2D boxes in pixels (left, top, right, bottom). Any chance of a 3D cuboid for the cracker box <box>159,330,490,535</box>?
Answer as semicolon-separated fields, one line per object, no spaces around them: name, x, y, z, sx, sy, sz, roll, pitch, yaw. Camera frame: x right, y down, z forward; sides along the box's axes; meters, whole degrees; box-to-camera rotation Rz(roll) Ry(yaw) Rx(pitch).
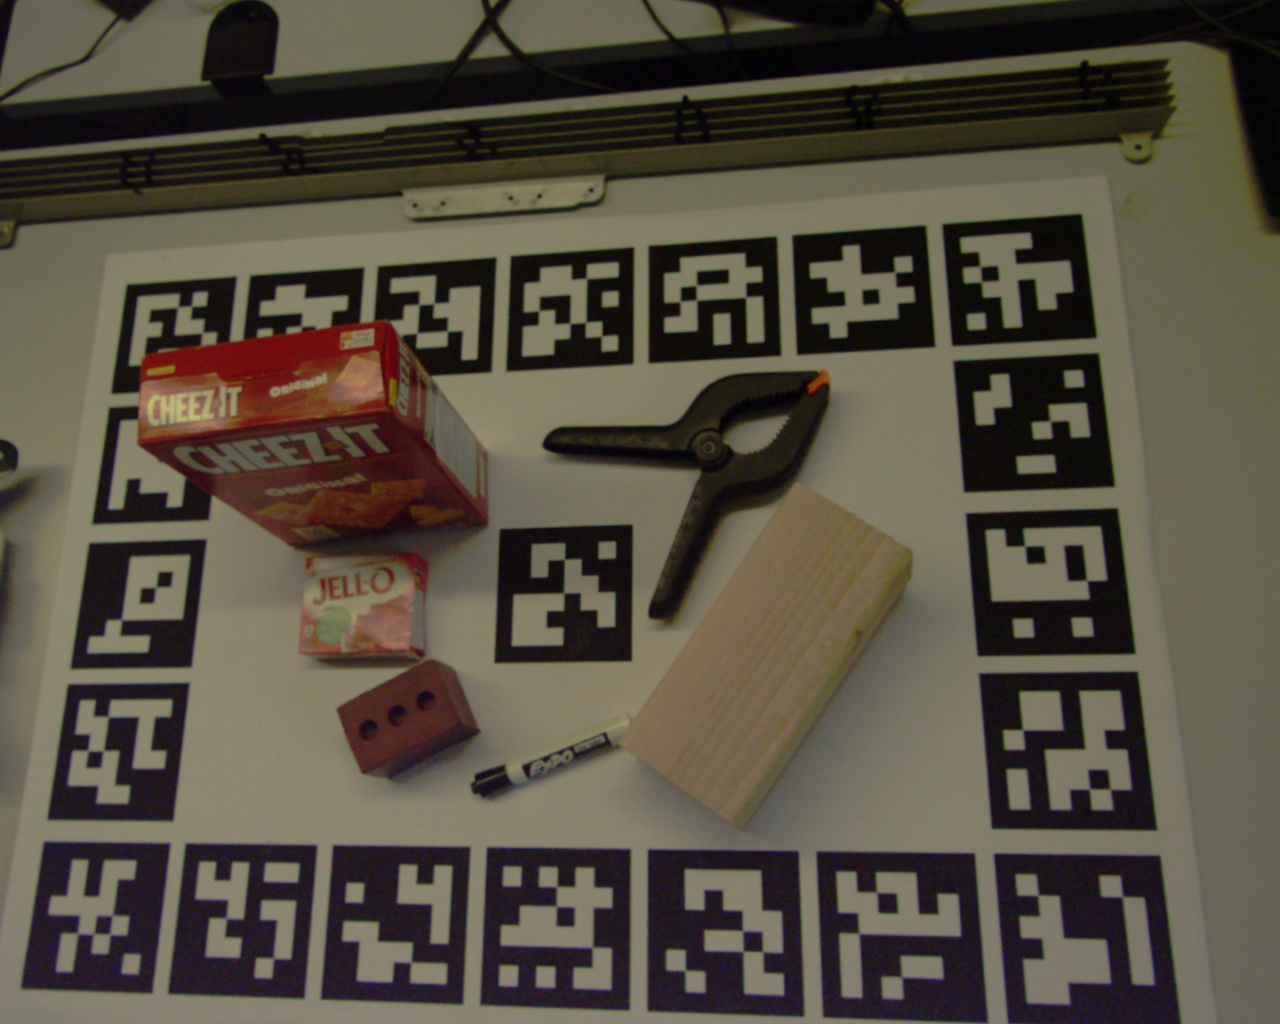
cracker box;-0.210;-0.046;0.806;0.165;0.212;0.072;-5;73;6

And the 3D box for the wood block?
wood block;0.074;0.106;0.786;0.090;0.090;0.206;33;80;19

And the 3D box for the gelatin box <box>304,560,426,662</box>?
gelatin box;-0.211;0.076;0.876;0.090;0.030;0.073;-3;76;9

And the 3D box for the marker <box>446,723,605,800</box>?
marker;-0.083;0.182;0.825;0.121;0.019;0.020;-21;74;4

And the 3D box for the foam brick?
foam brick;-0.174;0.151;0.834;0.078;0.051;0.053;-26;74;2

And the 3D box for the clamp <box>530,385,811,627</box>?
clamp;0.041;-0.032;0.854;0.203;0.036;0.166;-32;73;1
